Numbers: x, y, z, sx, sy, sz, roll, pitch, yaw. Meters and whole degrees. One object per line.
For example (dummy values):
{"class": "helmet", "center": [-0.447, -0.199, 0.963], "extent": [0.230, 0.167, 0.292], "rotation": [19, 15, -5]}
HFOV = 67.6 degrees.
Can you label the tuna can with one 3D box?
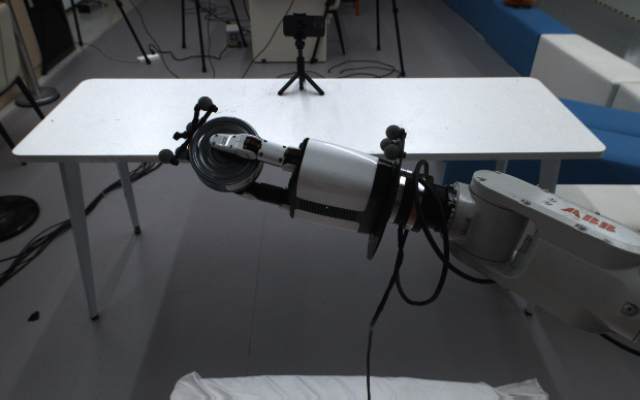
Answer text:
{"class": "tuna can", "center": [-0.106, -0.050, 0.571], "extent": [0.085, 0.034, 0.085], "rotation": [1, 77, -6]}
